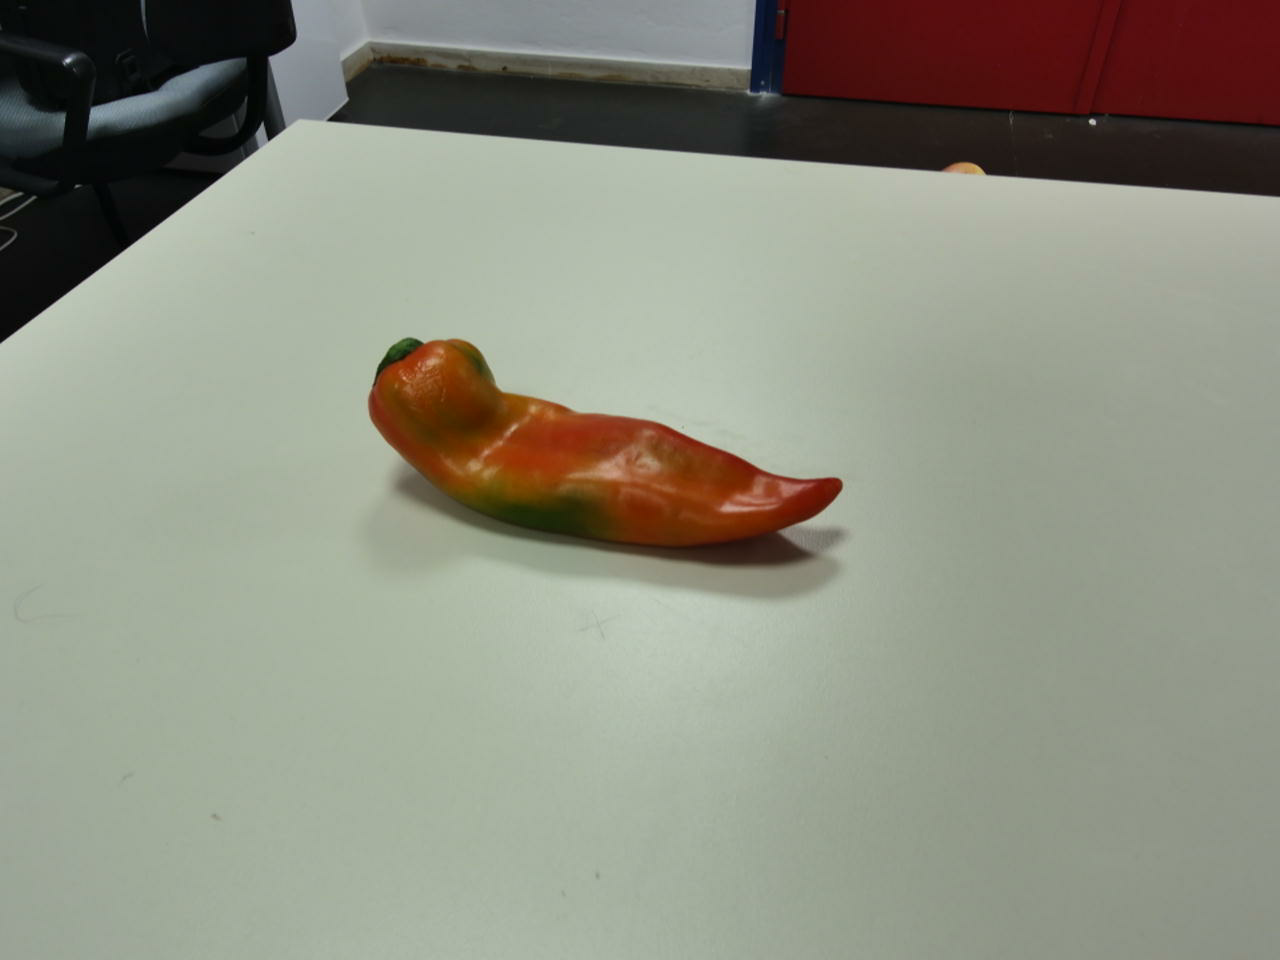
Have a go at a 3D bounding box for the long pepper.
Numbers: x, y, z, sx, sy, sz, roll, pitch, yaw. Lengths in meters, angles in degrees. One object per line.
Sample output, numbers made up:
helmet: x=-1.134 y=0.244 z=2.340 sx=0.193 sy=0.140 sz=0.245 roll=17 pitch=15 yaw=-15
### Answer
long pepper: x=-0.018 y=-0.016 z=0.411 sx=0.199 sy=0.065 sz=0.066 roll=12 pitch=40 yaw=15
